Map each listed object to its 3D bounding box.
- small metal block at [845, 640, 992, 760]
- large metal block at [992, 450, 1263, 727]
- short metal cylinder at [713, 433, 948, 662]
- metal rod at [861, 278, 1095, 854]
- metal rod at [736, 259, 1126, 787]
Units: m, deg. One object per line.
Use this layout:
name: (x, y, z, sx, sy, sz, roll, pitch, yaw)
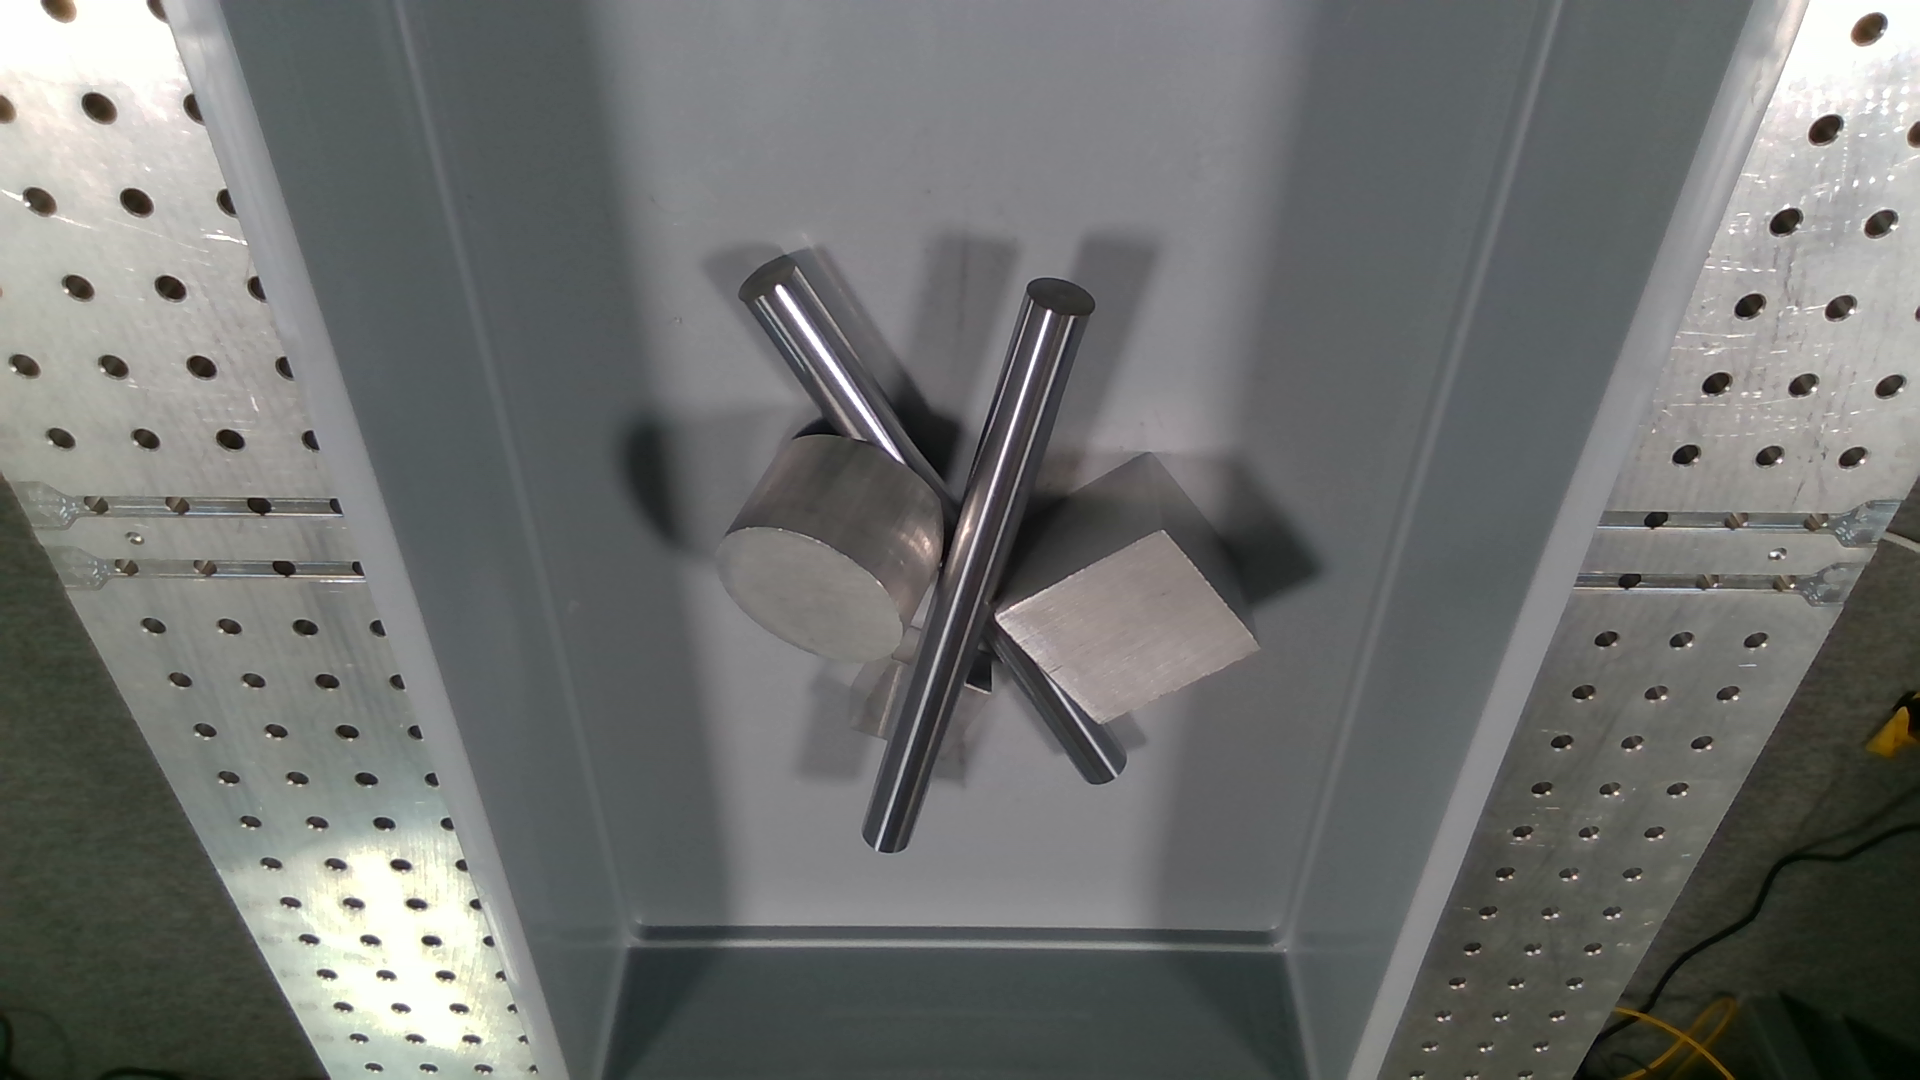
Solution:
small metal block: (-0.019, 0.071, 0.635, 0.050, 0.025, 0.050, 21, 127, -17)
large metal block: (0.069, 0.022, 0.579, 0.080, 0.050, 0.080, -29, 124, 22)
short metal cylinder: (-0.050, 0.004, 0.547, 0.080, 0.050, 0.080, 17, 144, 13)
metal rod: (-0.001, 0.028, 0.569, 0.025, 0.025, 0.301, 10, 129, -9)
metal rod: (-0.001, 0.008, 0.584, 0.025, 0.025, 0.301, -22, 127, 17)
